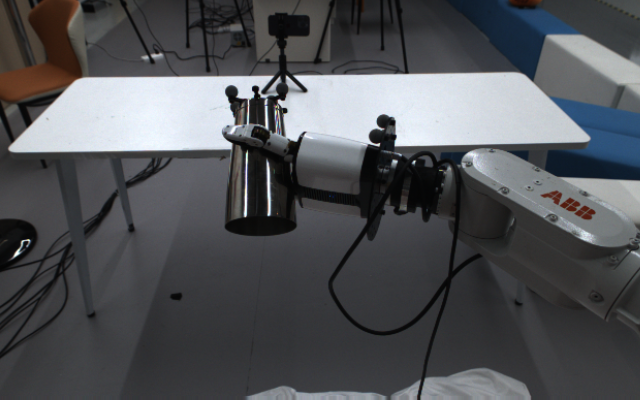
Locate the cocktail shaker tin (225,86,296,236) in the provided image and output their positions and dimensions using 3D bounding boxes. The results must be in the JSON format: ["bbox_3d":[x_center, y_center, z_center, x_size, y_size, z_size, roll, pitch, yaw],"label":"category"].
[{"bbox_3d":[-0.080,-0.045,0.644,0.093,0.093,0.170,-2,71,-6],"label":"cocktail shaker tin"}]
